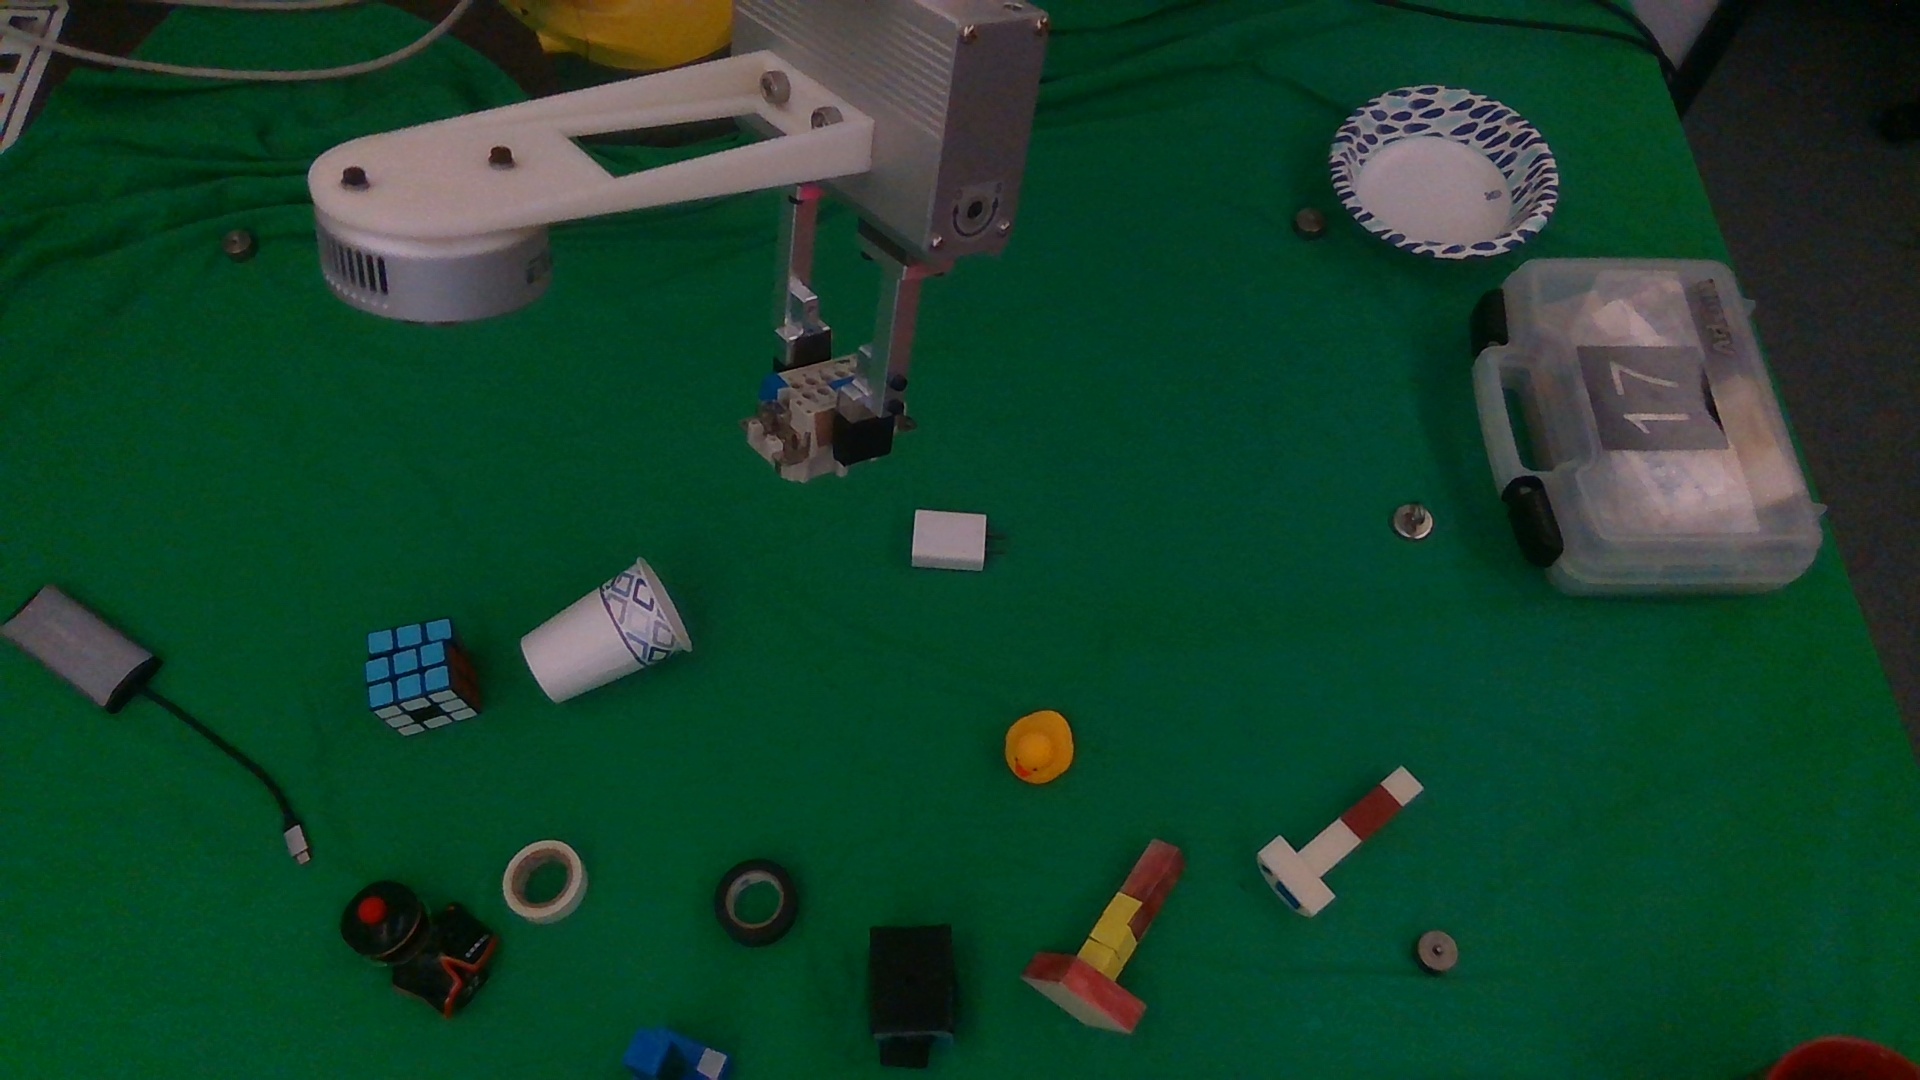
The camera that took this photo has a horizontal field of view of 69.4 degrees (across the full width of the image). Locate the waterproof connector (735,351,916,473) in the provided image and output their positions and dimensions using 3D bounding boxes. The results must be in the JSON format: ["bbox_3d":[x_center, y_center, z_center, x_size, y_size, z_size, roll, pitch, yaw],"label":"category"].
[{"bbox_3d":[-0.051,-0.048,0.528,0.065,0.037,0.035,-18,40,-38],"label":"waterproof connector"}]

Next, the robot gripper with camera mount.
[{"bbox_3d":[-0.101,-0.086,0.436,0.193,0.158,0.119,-20,45,-36],"label":"robot gripper with camera mount"}]
